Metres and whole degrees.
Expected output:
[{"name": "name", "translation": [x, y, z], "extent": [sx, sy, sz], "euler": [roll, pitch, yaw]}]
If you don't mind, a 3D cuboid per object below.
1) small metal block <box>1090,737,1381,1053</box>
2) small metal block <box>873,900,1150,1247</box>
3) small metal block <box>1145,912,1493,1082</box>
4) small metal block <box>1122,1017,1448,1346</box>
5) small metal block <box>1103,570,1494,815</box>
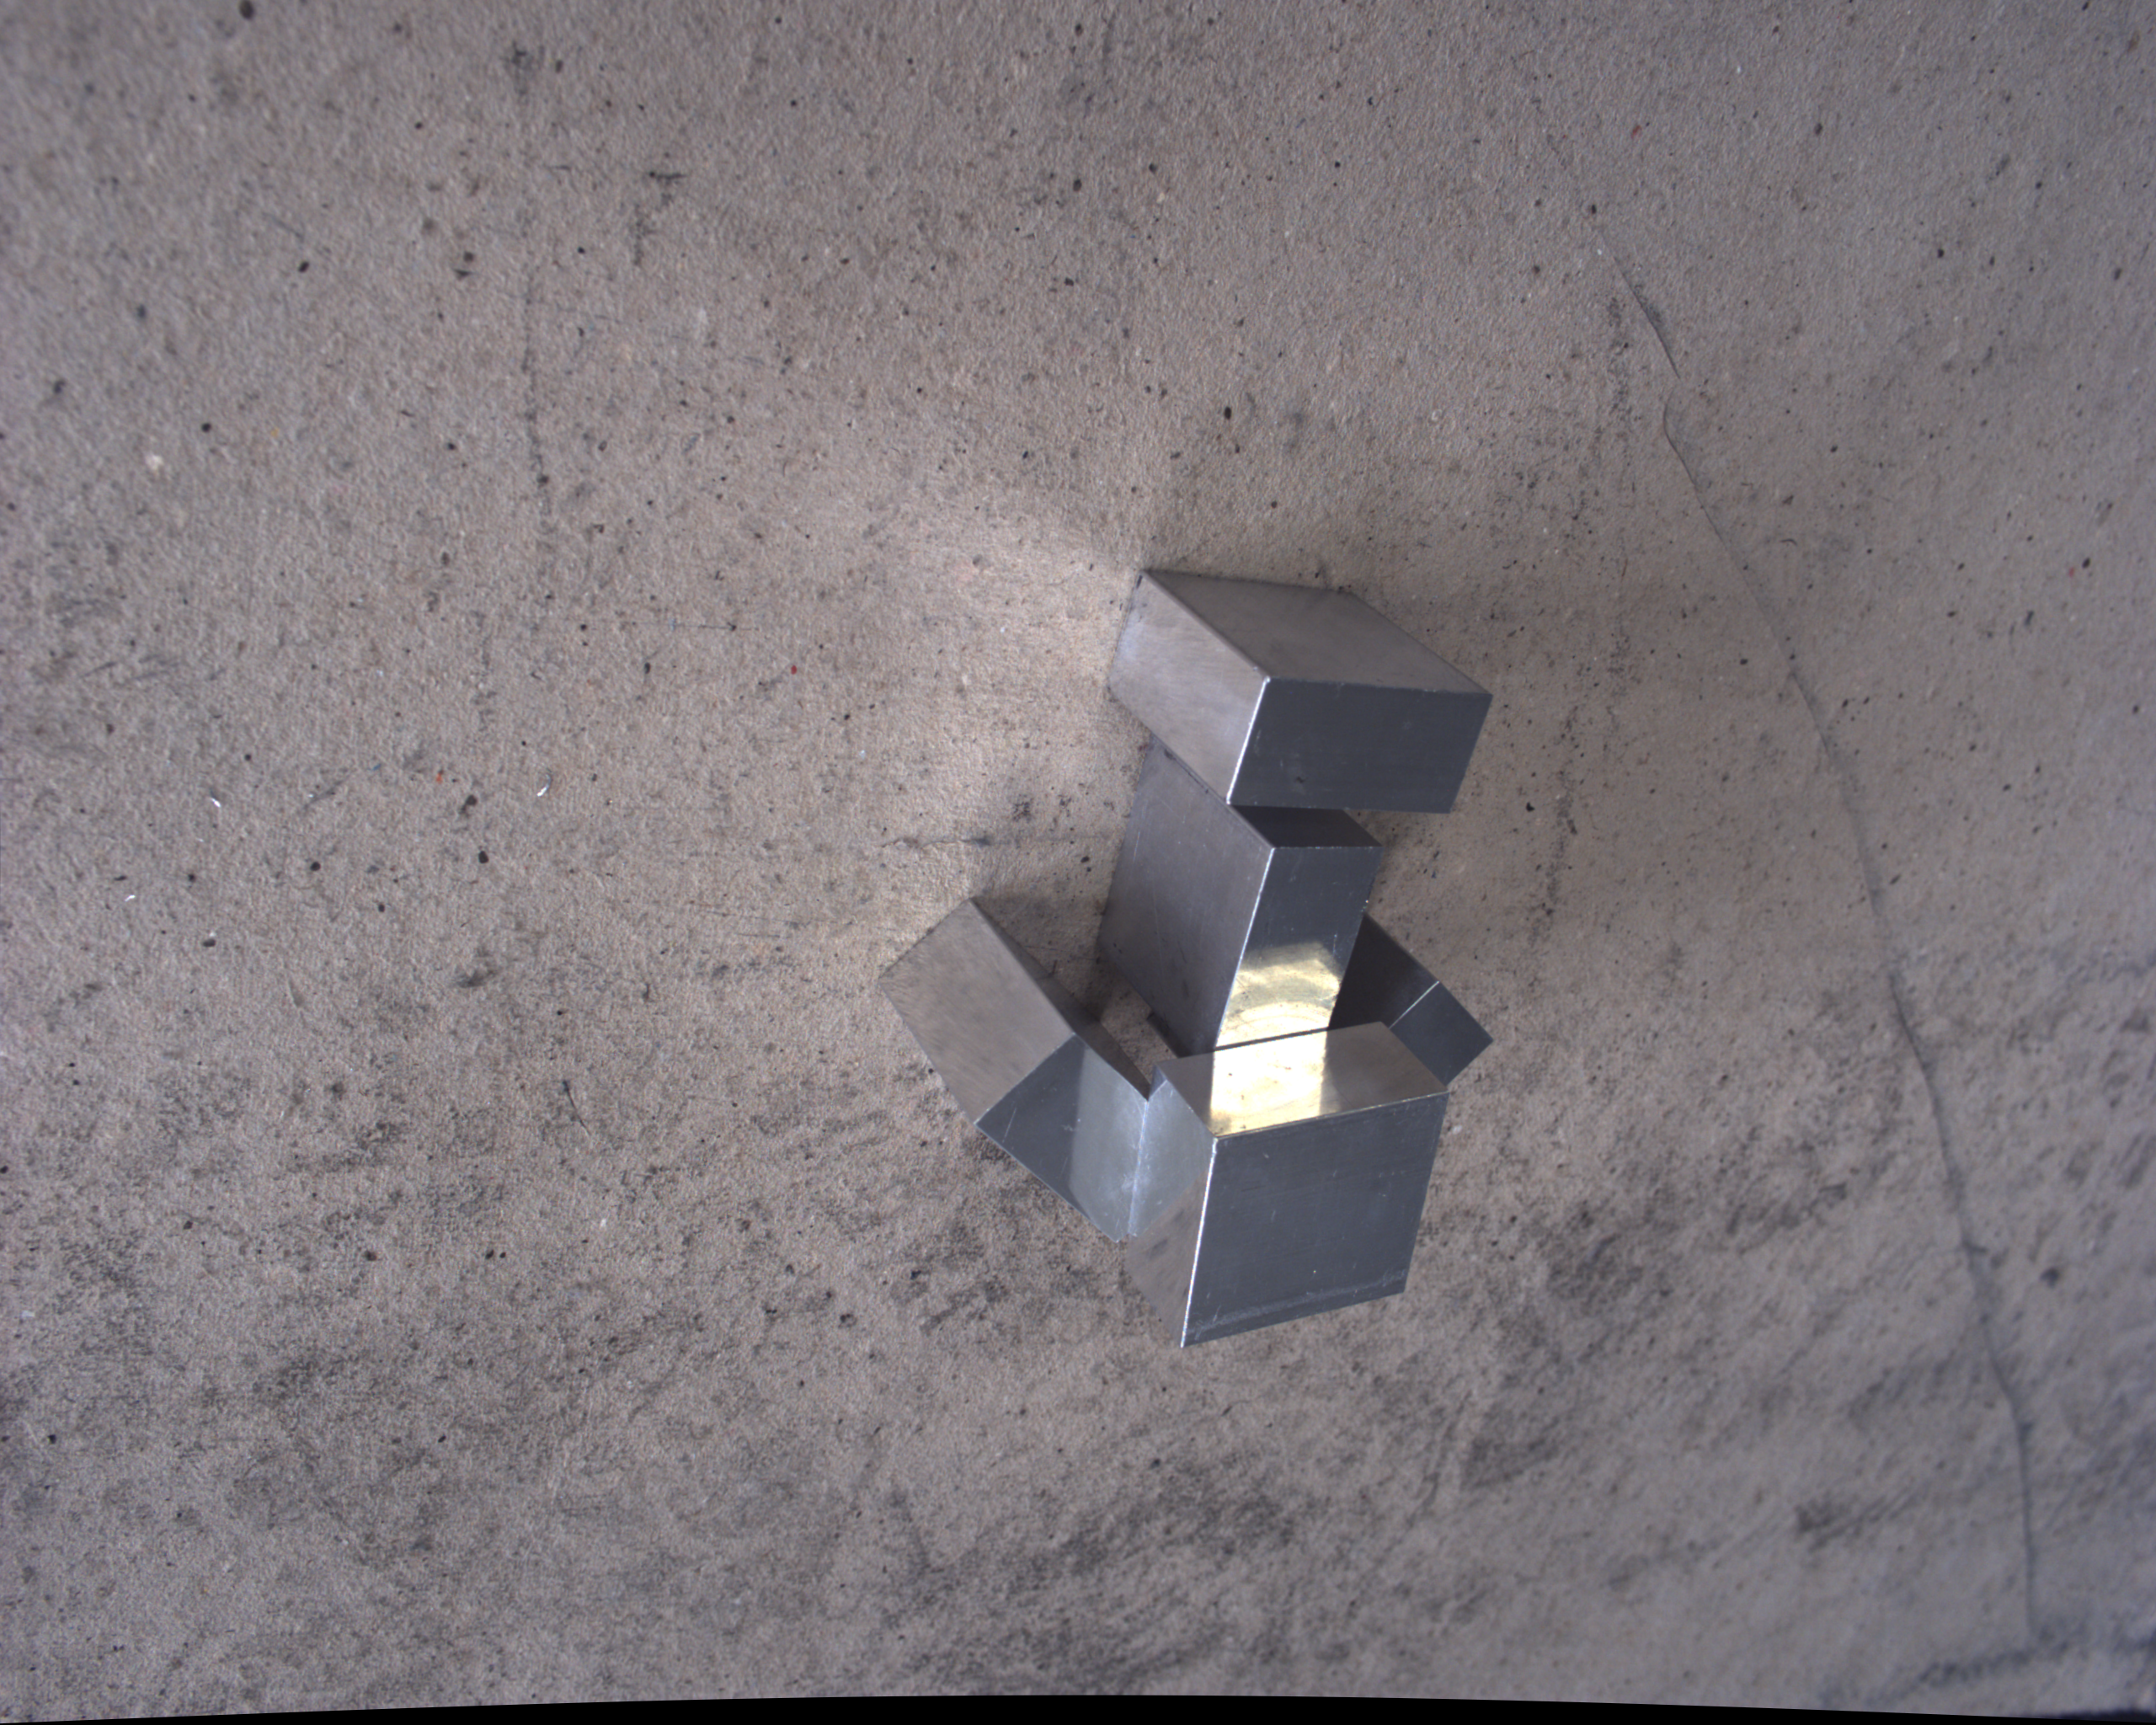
[{"name": "small metal block", "translation": [0.030, 0.007, 0.413], "extent": [0.025, 0.050, 0.050], "euler": [-1, 119, -29]}, {"name": "small metal block", "translation": [-0.007, 0.042, 0.413], "extent": [0.025, 0.050, 0.050], "euler": [-43, 131, 1]}, {"name": "small metal block", "translation": [0.050, 0.035, 0.442], "extent": [0.050, 0.050, 0.025], "euler": [-44, 129, 3]}, {"name": "small metal block", "translation": [0.039, 0.061, 0.404], "extent": [0.050, 0.025, 0.050], "euler": [-8, 121, -24]}, {"name": "small metal block", "translation": [0.041, -0.032, 0.394], "extent": [0.050, 0.050, 0.025], "euler": [1, 118, -30]}]
